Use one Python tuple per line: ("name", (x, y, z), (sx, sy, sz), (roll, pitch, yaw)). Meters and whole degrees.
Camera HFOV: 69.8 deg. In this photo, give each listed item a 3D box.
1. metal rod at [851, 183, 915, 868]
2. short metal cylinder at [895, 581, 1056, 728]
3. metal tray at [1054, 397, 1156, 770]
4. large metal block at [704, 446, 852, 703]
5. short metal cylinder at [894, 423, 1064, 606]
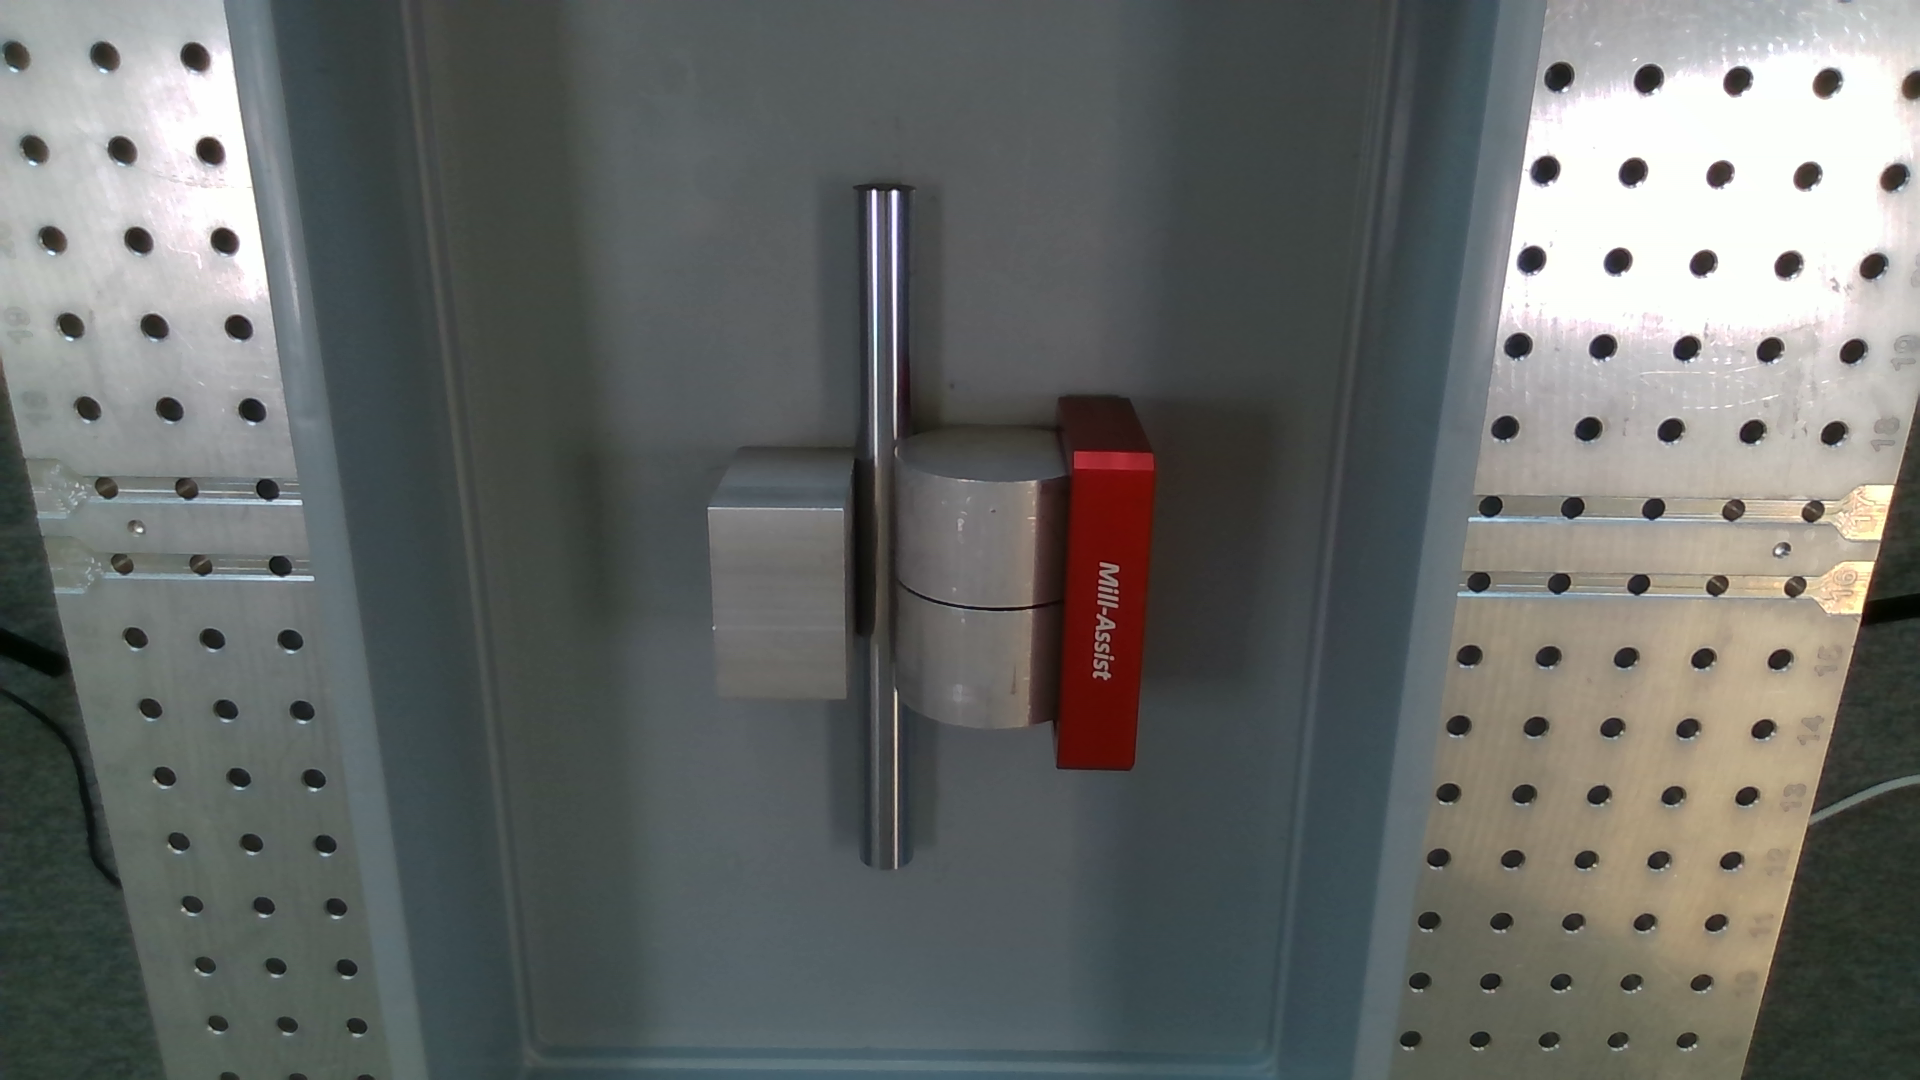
("metal rod", (-0.032, 0.004, 0.585), (0.025, 0.025, 0.301), (1, 110, 0))
("short metal cylinder", (0.013, 0.036, 0.569), (0.080, 0.080, 0.050), (1, 110, 0))
("metal tray", (0.054, 0.015, 0.555), (0.030, 0.090, 0.130), (1, 110, 0))
("large metal block", (-0.070, 0.012, 0.558), (0.050, 0.080, 0.080), (1, 110, 0))
("short metal cylinder", (0.014, -0.012, 0.551), (0.080, 0.080, 0.050), (1, 110, 0))
